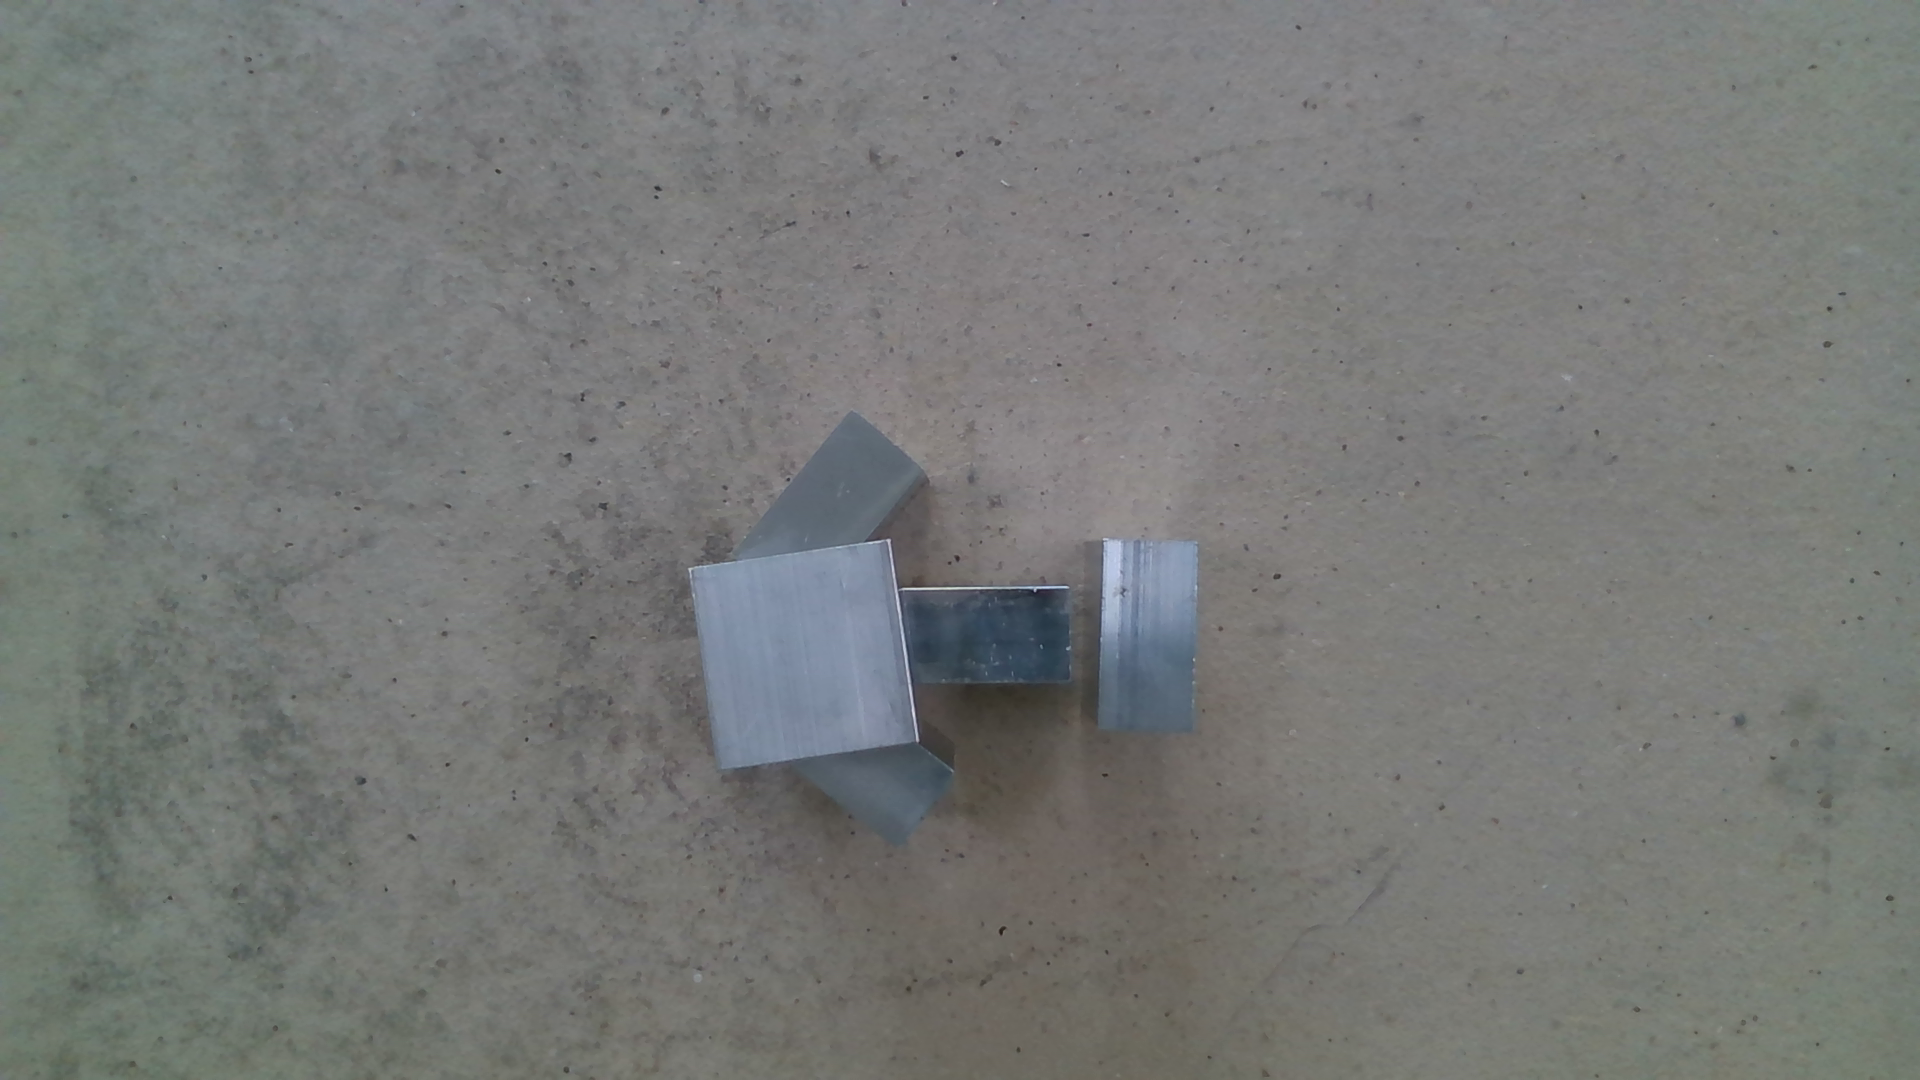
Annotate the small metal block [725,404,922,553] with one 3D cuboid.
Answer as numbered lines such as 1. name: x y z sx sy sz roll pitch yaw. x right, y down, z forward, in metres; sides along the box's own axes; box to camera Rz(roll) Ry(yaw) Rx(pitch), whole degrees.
1. small metal block: -0.035 -0.009 0.382 0.025 0.050 0.050 40 91 -1

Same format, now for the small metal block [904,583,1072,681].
1. small metal block: 0.004 0.024 0.384 0.050 0.050 0.025 -1 91 -1

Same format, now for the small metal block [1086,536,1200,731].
1. small metal block: 0.049 0.024 0.383 0.025 0.050 0.050 2 90 0

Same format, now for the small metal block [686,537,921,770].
1. small metal block: -0.038 0.028 0.346 0.050 0.025 0.050 -8 90 0

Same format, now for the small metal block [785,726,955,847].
1. small metal block: -0.029 0.055 0.384 0.050 0.050 0.025 37 90 0
